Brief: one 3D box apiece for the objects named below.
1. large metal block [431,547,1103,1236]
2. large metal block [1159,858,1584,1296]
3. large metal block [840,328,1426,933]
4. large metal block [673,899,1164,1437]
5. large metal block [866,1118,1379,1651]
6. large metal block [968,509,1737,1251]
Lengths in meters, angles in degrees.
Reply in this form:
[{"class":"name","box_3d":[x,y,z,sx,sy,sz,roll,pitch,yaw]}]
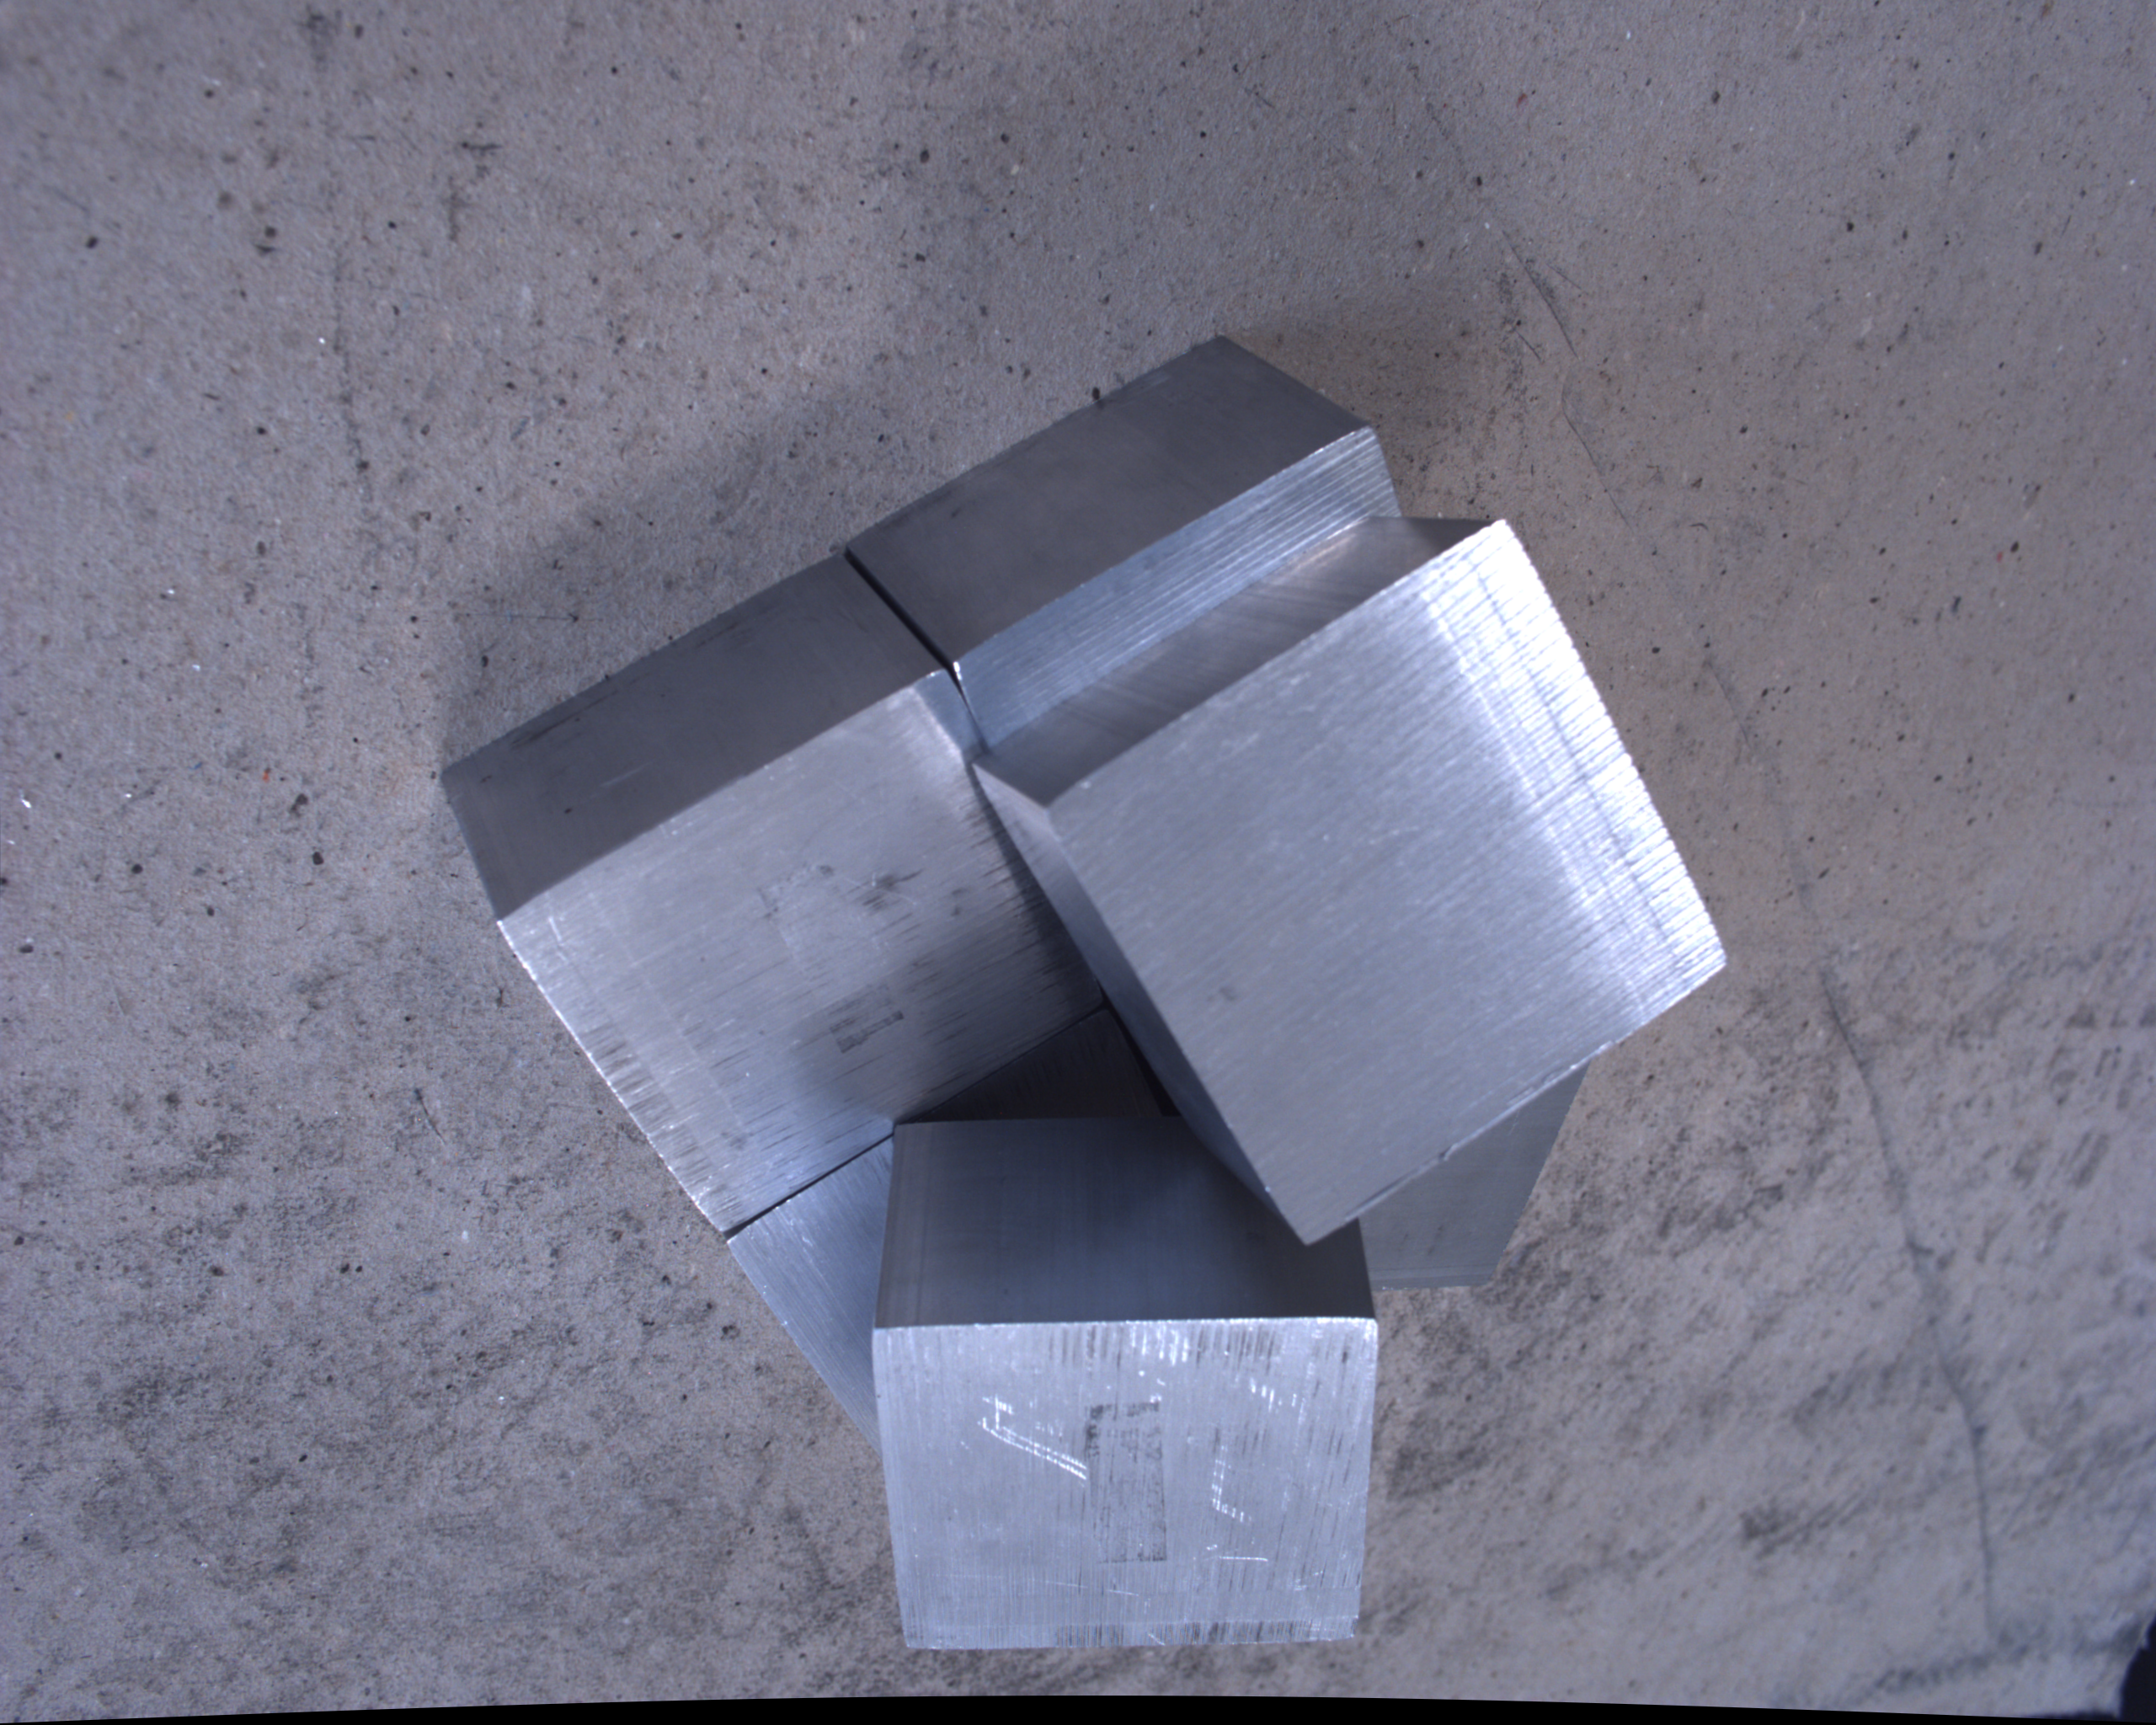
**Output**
[{"class":"large metal block","box_3d":[-0.052,0.005,0.368,0.080,0.050,0.080,-31,129,-8]},{"class":"large metal block","box_3d":[0.055,0.031,0.422,0.050,0.080,0.079,4,117,-30]},{"class":"large metal block","box_3d":[0.016,-0.036,0.377,0.080,0.050,0.080,-32,129,-9]},{"class":"large metal block","box_3d":[-0.026,0.061,0.417,0.080,0.050,0.080,-31,129,-8]},{"class":"large metal block","box_3d":[0.008,0.092,0.370,0.080,0.050,0.079,-1,123,0]},{"class":"large metal block","box_3d":[0.042,0.000,0.329,0.080,0.050,0.080,-33,106,-7]}]
